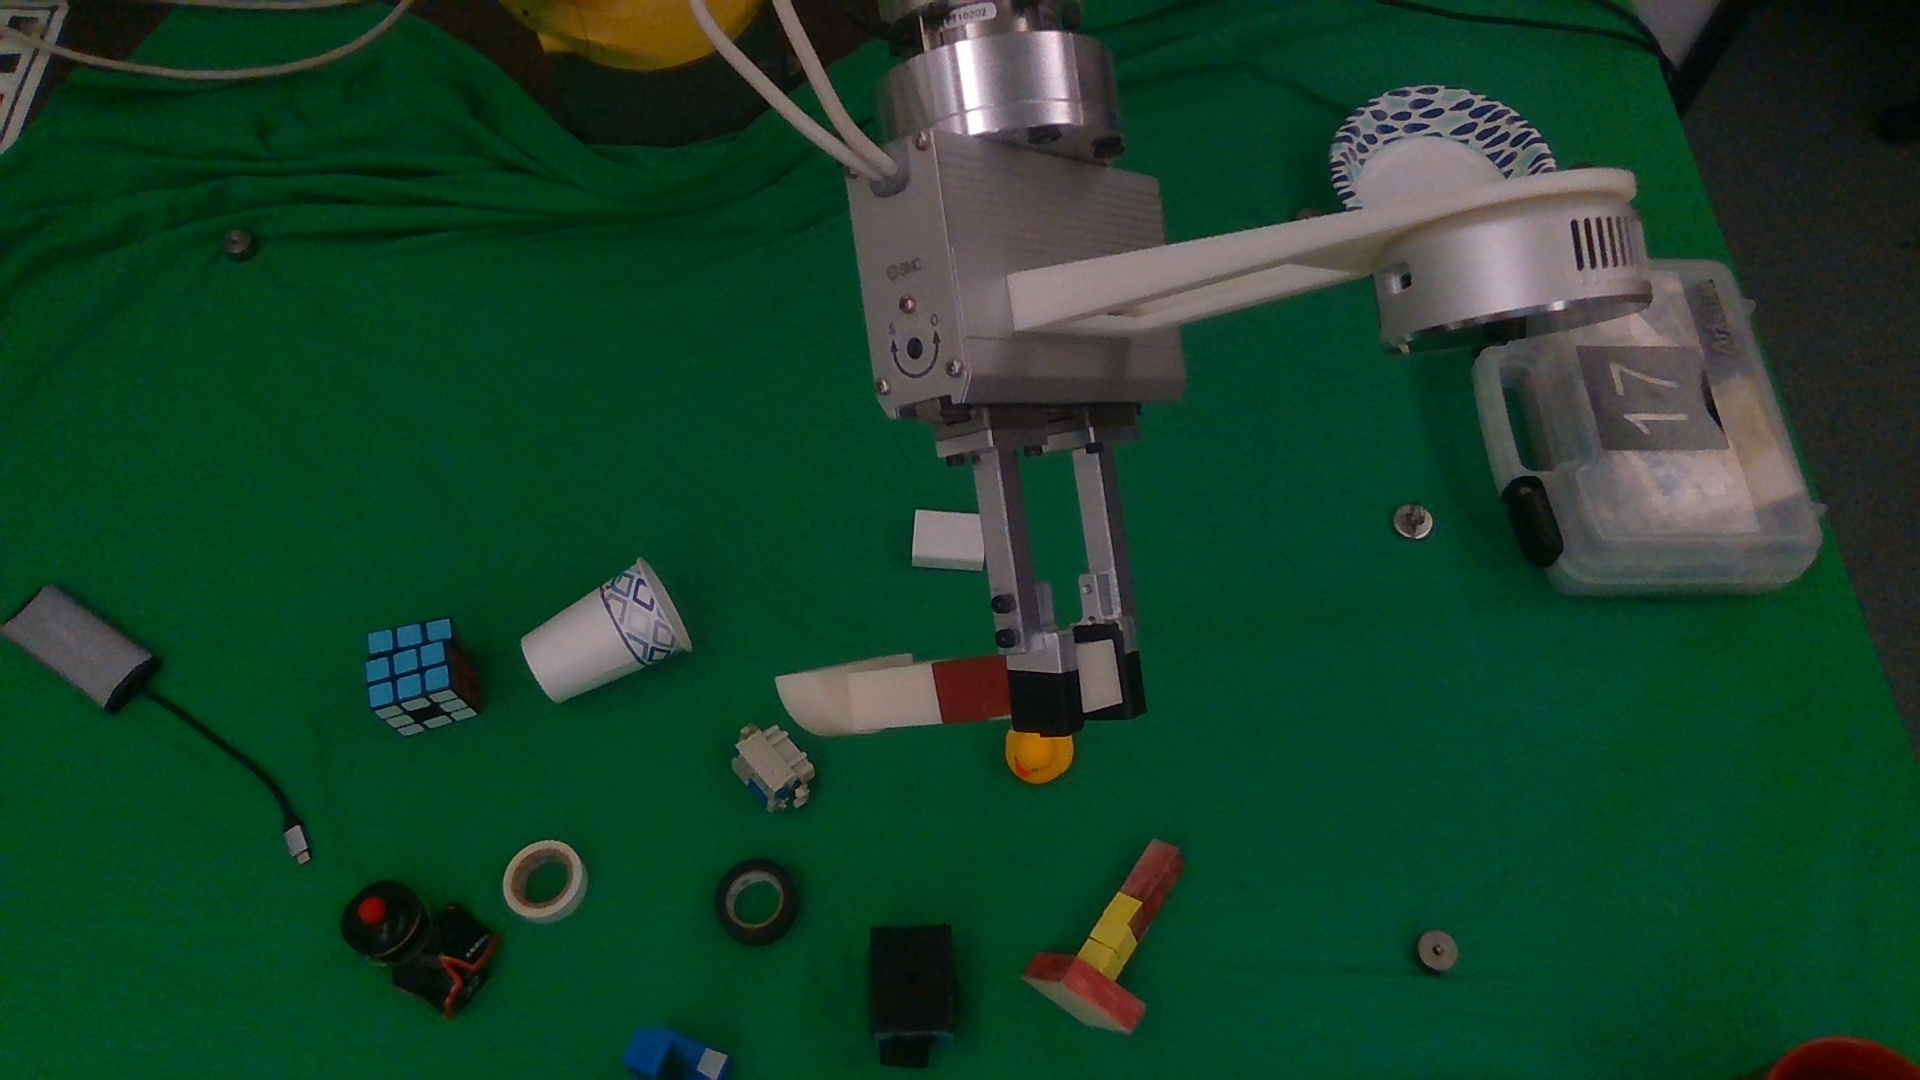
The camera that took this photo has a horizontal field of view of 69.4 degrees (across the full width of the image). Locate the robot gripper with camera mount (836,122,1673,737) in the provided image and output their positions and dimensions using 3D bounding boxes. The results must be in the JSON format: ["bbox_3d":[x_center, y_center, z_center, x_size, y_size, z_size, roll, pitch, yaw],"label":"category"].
[{"bbox_3d":[0.086,-0.035,0.363,0.118,0.194,0.158,-5,85,-49],"label":"robot gripper with camera mount"}]

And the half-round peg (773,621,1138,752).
[{"bbox_3d":[0.000,0.046,0.441,0.054,0.122,0.031,-10,87,-50],"label":"half-round peg"}]
